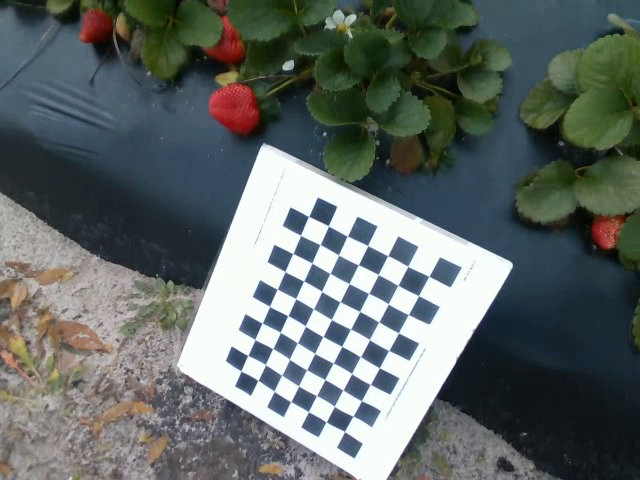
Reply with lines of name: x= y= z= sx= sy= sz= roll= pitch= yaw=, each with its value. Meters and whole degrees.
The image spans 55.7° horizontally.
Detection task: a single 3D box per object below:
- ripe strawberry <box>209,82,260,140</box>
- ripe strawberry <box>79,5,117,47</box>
ripe strawberry: x=-0.099 y=-0.146 z=0.650 sx=0.057 sy=0.056 sz=0.064 roll=-9 pitch=11 yaw=38
ripe strawberry: x=-0.261 y=-0.253 z=0.694 sx=0.043 sy=0.052 sz=0.041 roll=10 pitch=-30 yaw=21
